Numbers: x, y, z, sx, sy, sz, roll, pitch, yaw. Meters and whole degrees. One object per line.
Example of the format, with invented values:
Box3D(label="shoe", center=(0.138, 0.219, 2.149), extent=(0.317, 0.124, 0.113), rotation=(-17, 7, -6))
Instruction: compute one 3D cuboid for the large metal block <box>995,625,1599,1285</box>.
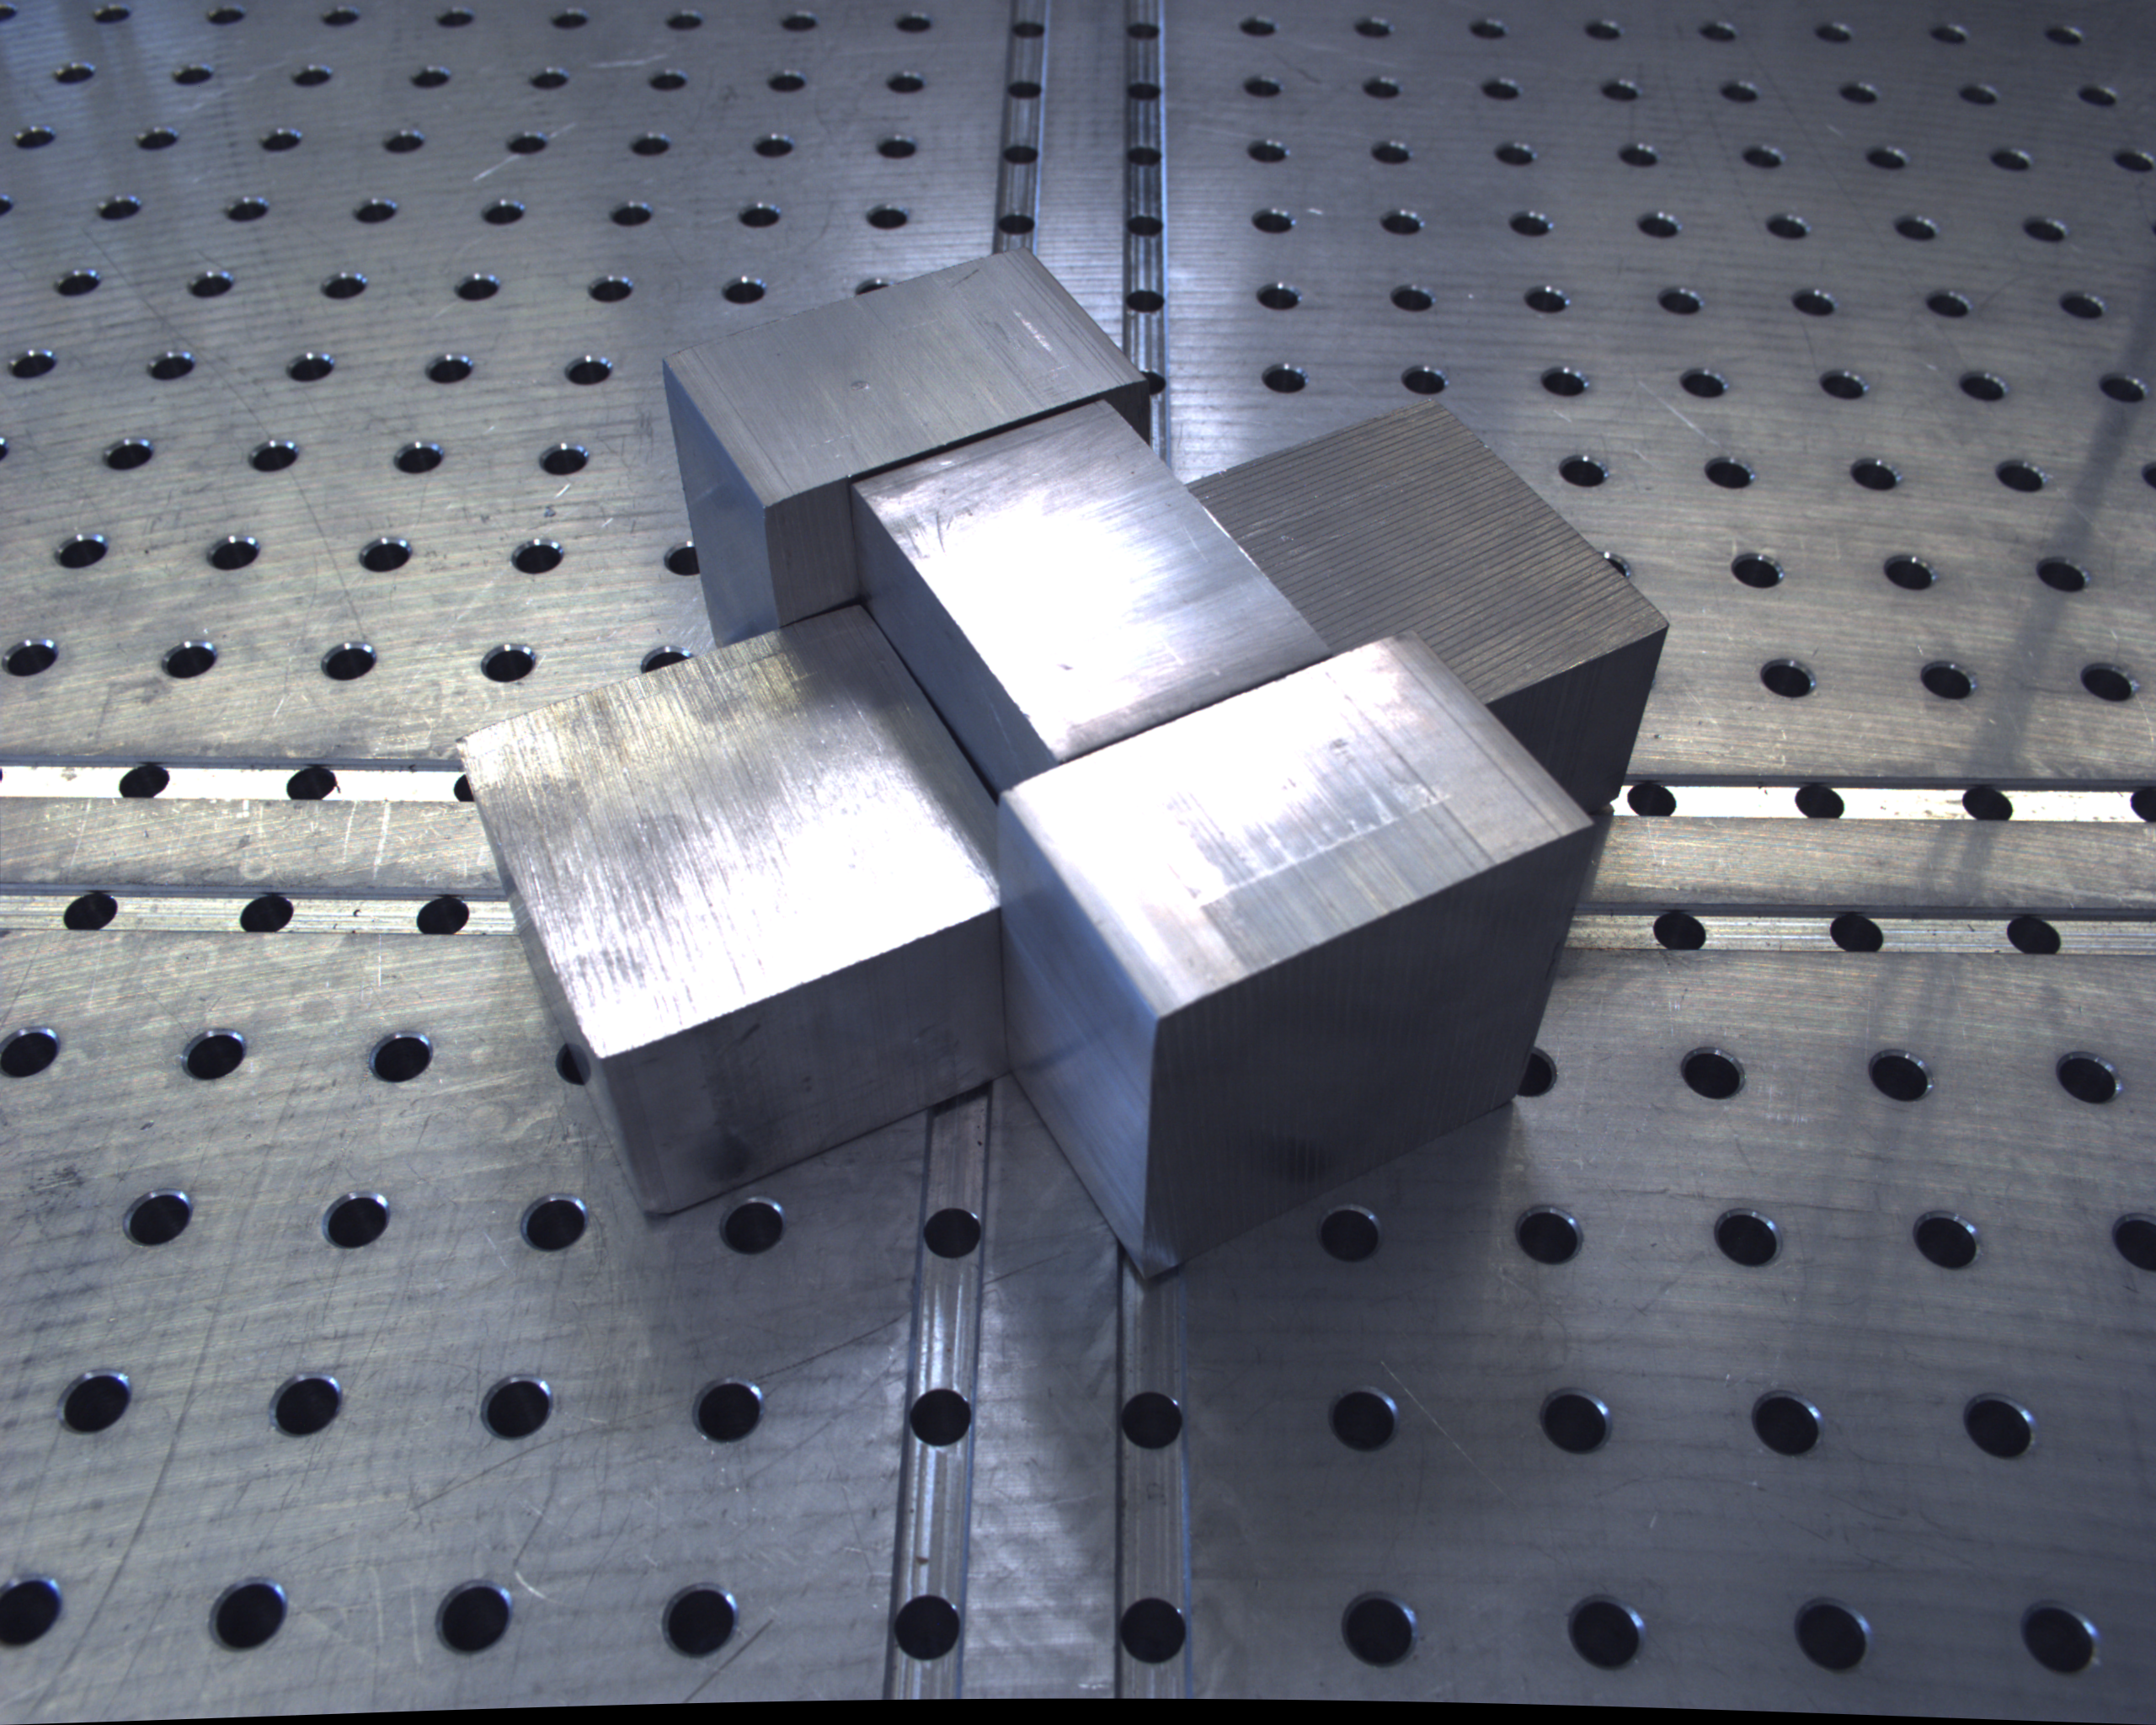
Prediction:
Box3D(label="large metal block", center=(0.034, 0.016, 0.358), extent=(0.081, 0.080, 0.050), rotation=(-22, 54, -19))

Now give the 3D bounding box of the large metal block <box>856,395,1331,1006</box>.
Box3D(label="large metal block", center=(0.001, -0.027, 0.395), extent=(0.050, 0.080, 0.080), rotation=(-23, 54, -18))

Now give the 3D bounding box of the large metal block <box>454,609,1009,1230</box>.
Box3D(label="large metal block", center=(-0.059, 0.008, 0.386), extent=(0.081, 0.050, 0.080), rotation=(-21, 53, -17))

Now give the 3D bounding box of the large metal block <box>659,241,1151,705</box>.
Box3D(label="large metal block", center=(-0.033, -0.070, 0.430), extent=(0.081, 0.080, 0.050), rotation=(-22, 53, -18))

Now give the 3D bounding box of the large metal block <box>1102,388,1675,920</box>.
Box3D(label="large metal block", center=(0.059, -0.042, 0.427), extent=(0.081, 0.050, 0.080), rotation=(-23, 56, -18))
